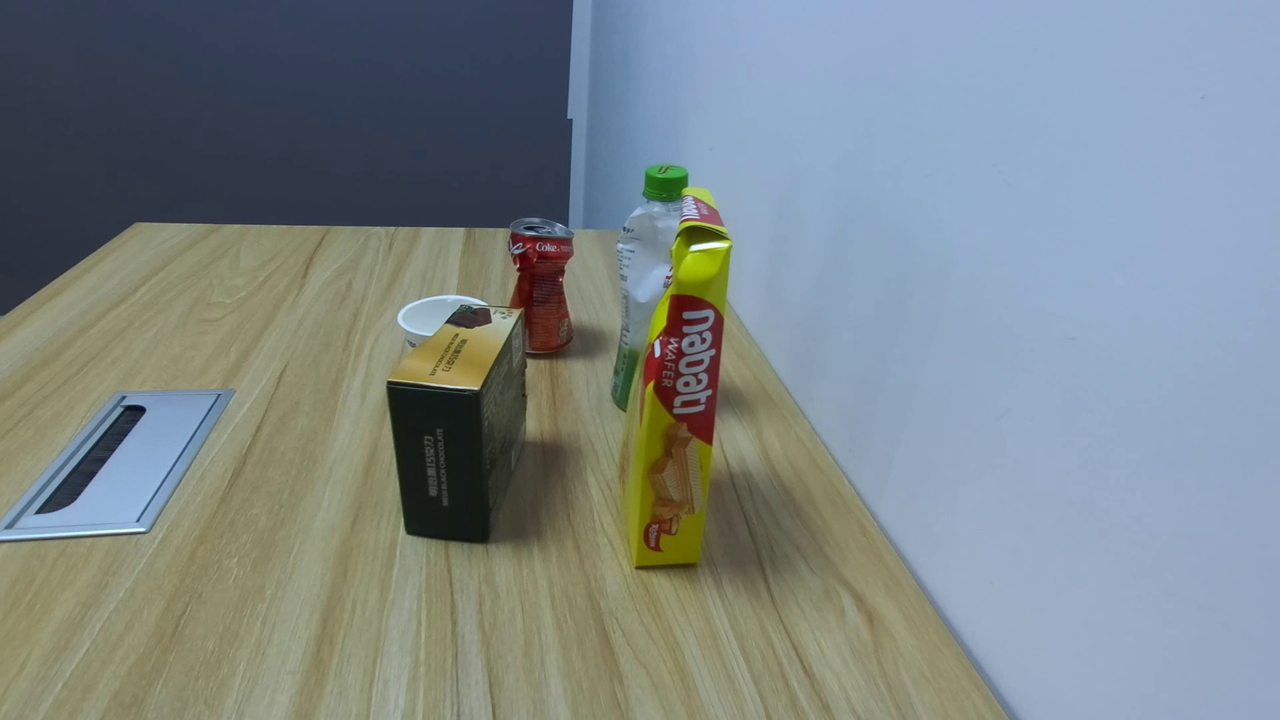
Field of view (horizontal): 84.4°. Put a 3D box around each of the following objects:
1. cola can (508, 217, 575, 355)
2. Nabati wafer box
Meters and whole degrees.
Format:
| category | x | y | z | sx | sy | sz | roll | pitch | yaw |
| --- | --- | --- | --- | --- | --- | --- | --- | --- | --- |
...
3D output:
| category | x | y | z | sx | sy | sz | roll | pitch | yaw |
| --- | --- | --- | --- | --- | --- | --- | --- | --- | --- |
| cola can | -0.089 | -0.064 | 0.626 | 0.065 | 0.112 | 0.069 | 9 | 28 | 8 |
| Nabati wafer box | 0.018 | 0.011 | 0.404 | 0.043 | 0.205 | 0.113 | 2 | 28 | -8 |
